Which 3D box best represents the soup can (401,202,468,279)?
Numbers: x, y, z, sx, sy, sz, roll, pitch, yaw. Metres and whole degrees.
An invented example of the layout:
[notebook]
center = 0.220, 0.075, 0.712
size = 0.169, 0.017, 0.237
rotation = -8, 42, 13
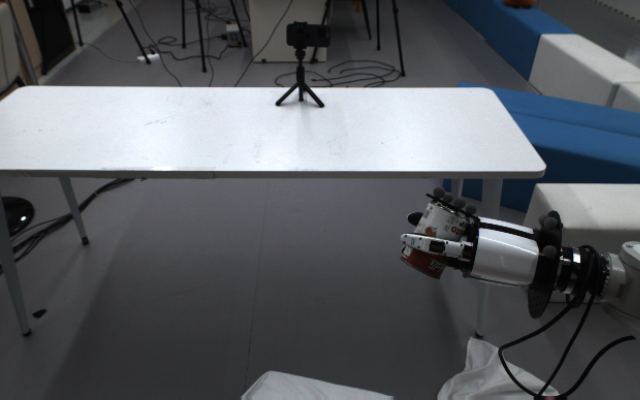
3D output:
[soup can]
center = 0.176, 0.059, 0.735
size = 0.067, 0.101, 0.067
rotation = 26, 5, -2
